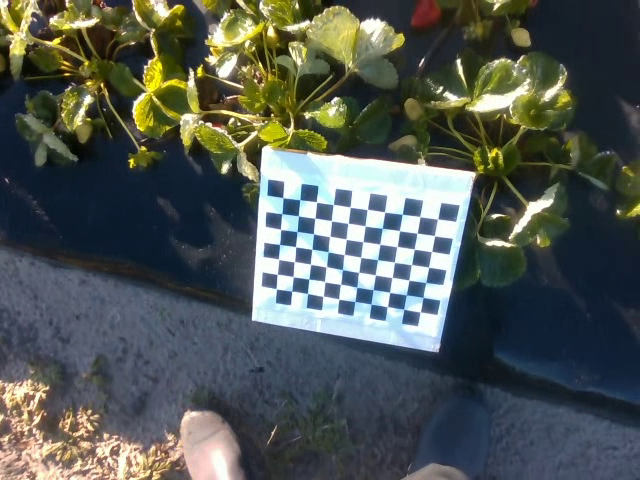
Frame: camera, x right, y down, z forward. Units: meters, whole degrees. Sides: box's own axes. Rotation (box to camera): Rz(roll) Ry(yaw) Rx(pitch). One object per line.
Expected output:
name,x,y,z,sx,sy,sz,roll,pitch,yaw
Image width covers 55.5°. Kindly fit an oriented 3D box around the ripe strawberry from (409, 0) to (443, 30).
ripe strawberry,0.129,-0.280,0.755,0.047,0.039,0.040,-44,7,5
